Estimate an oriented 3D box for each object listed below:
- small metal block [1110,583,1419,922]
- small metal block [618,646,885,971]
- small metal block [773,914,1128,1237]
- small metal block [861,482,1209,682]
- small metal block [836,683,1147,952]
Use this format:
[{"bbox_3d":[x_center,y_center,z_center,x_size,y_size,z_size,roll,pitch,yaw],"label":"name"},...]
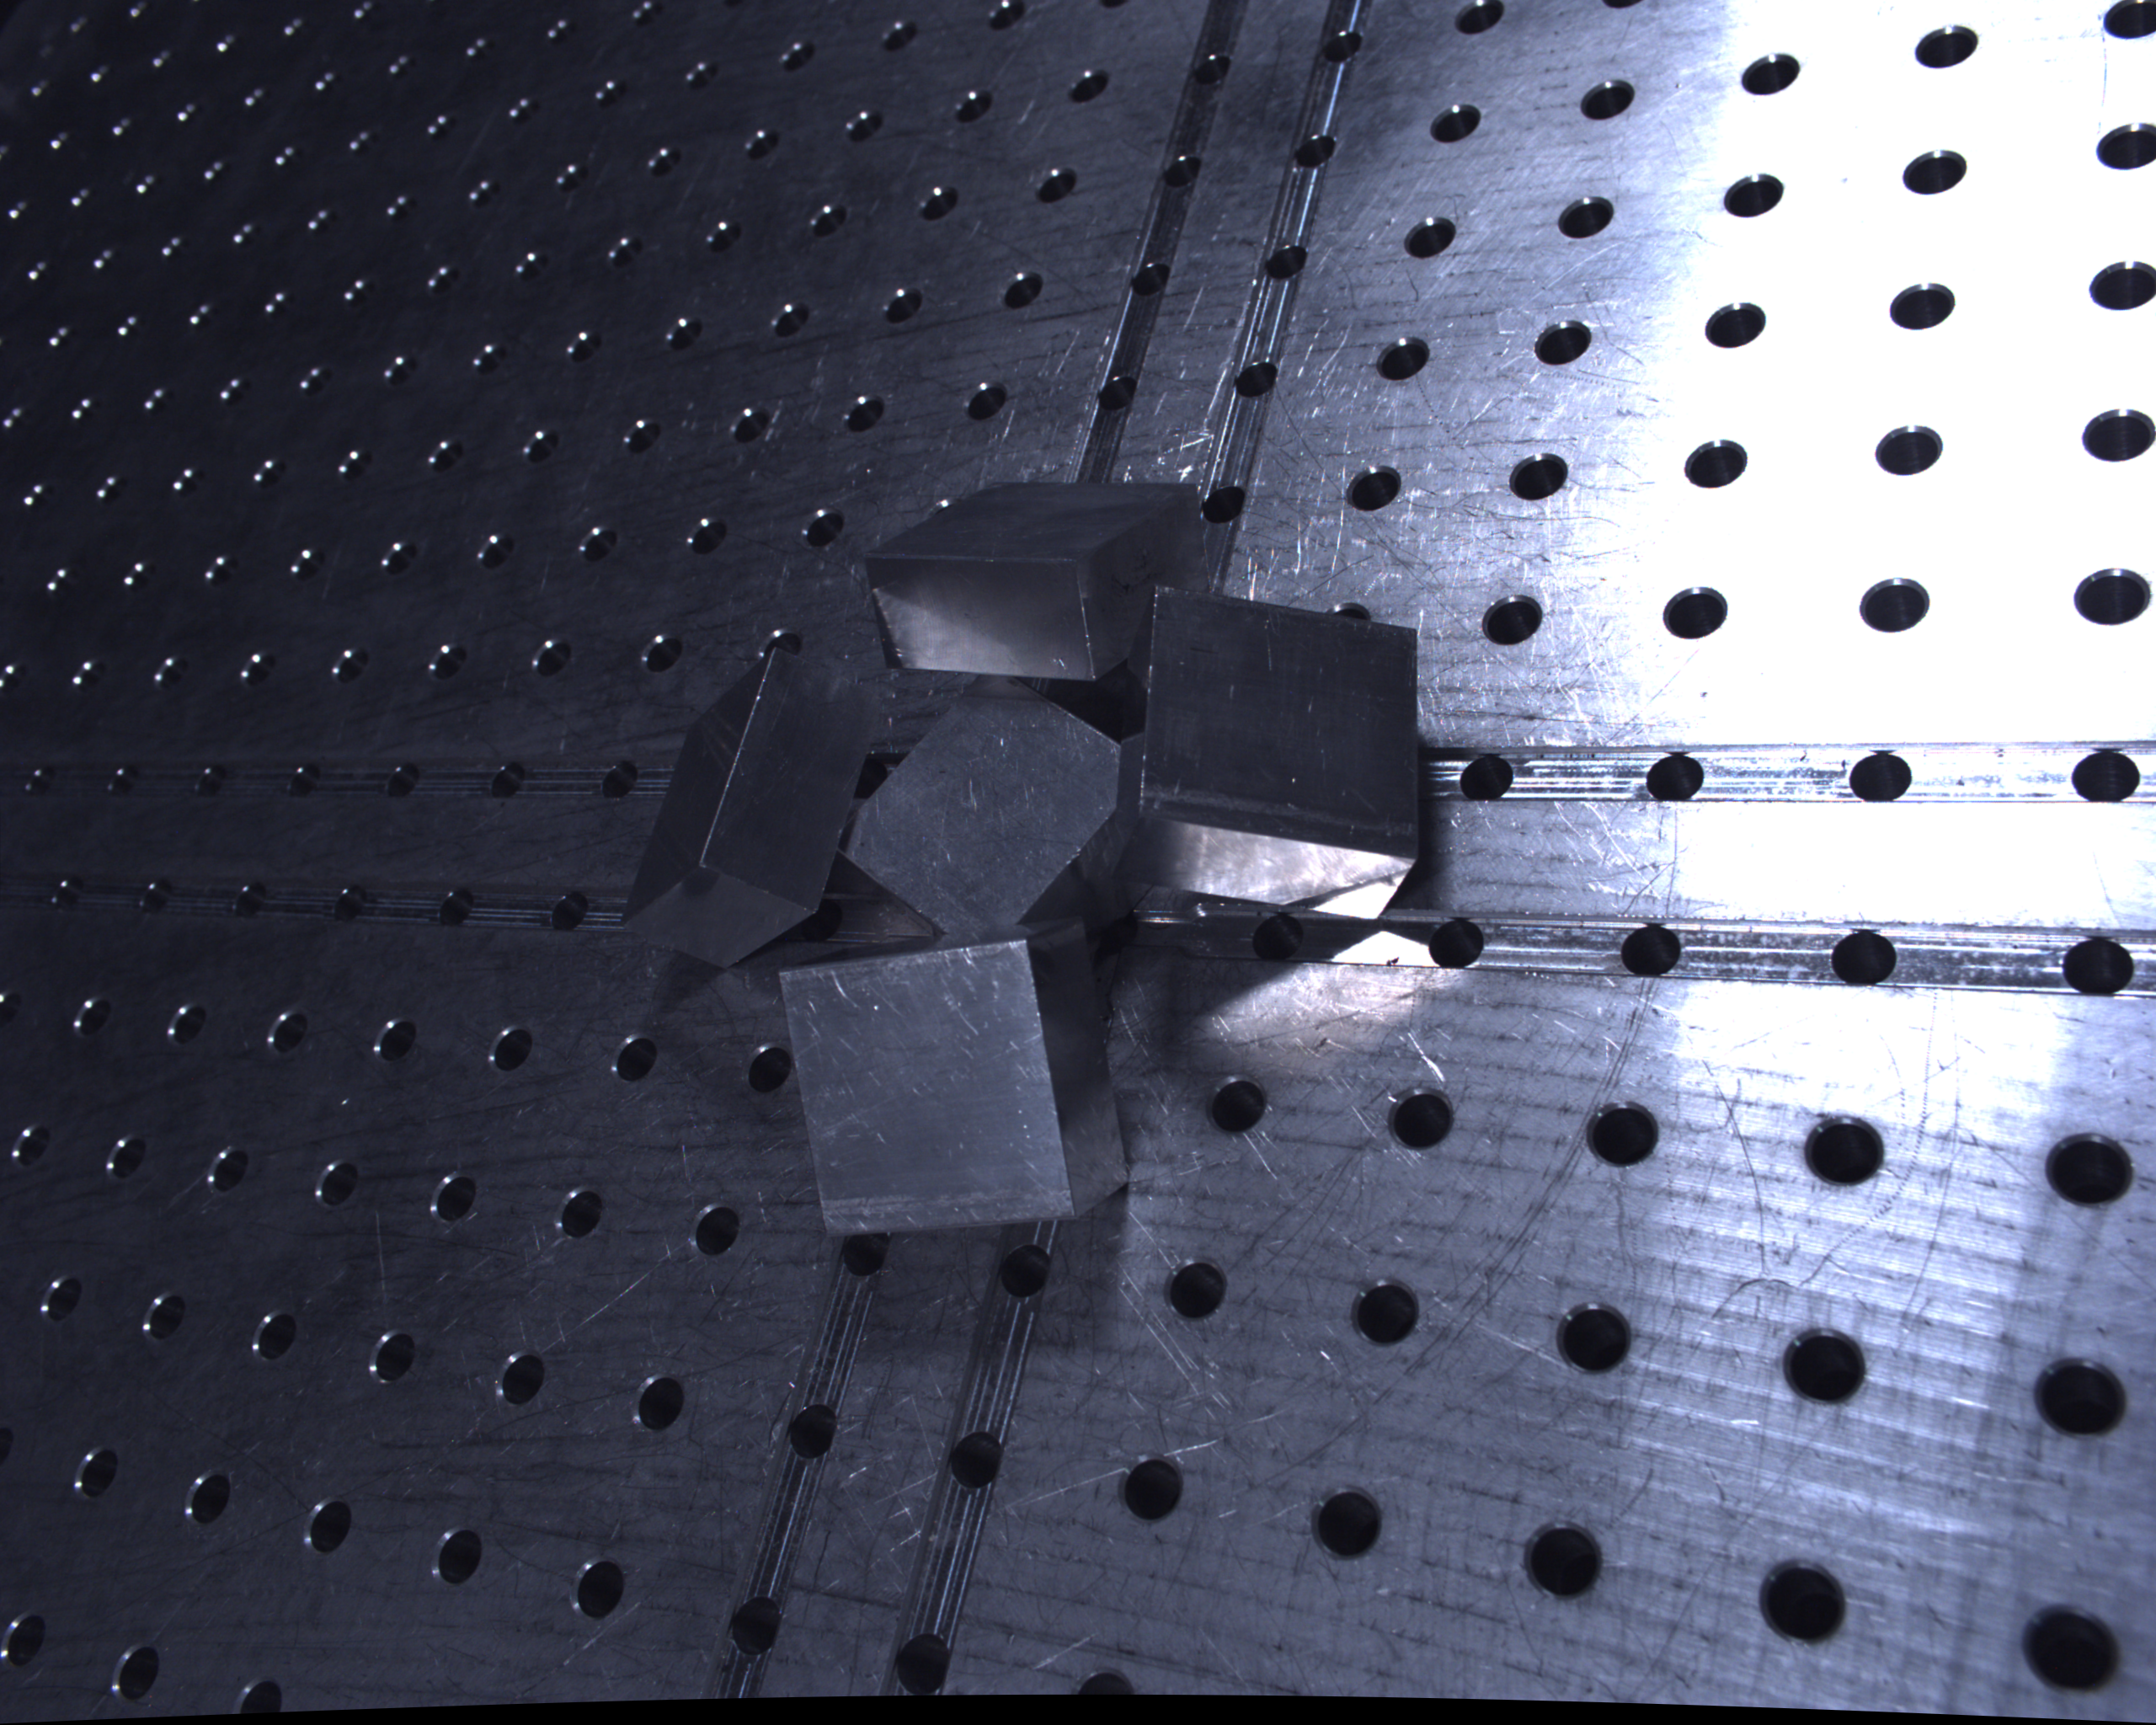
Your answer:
[{"bbox_3d":[0.035,-0.020,0.386,0.050,0.025,0.050,9,60,-7],"label":"small metal block"},{"bbox_3d":[-0.068,-0.010,0.434,0.050,0.025,0.050,-28,42,56],"label":"small metal block"},{"bbox_3d":[-0.023,0.039,0.379,0.050,0.025,0.050,-9,94,23],"label":"small metal block"},{"bbox_3d":[-0.008,-0.059,0.431,0.050,0.025,0.050,6,29,31],"label":"small metal block"},{"bbox_3d":[-0.013,-0.006,0.416,0.050,0.025,0.050,-49,52,-7],"label":"small metal block"}]
